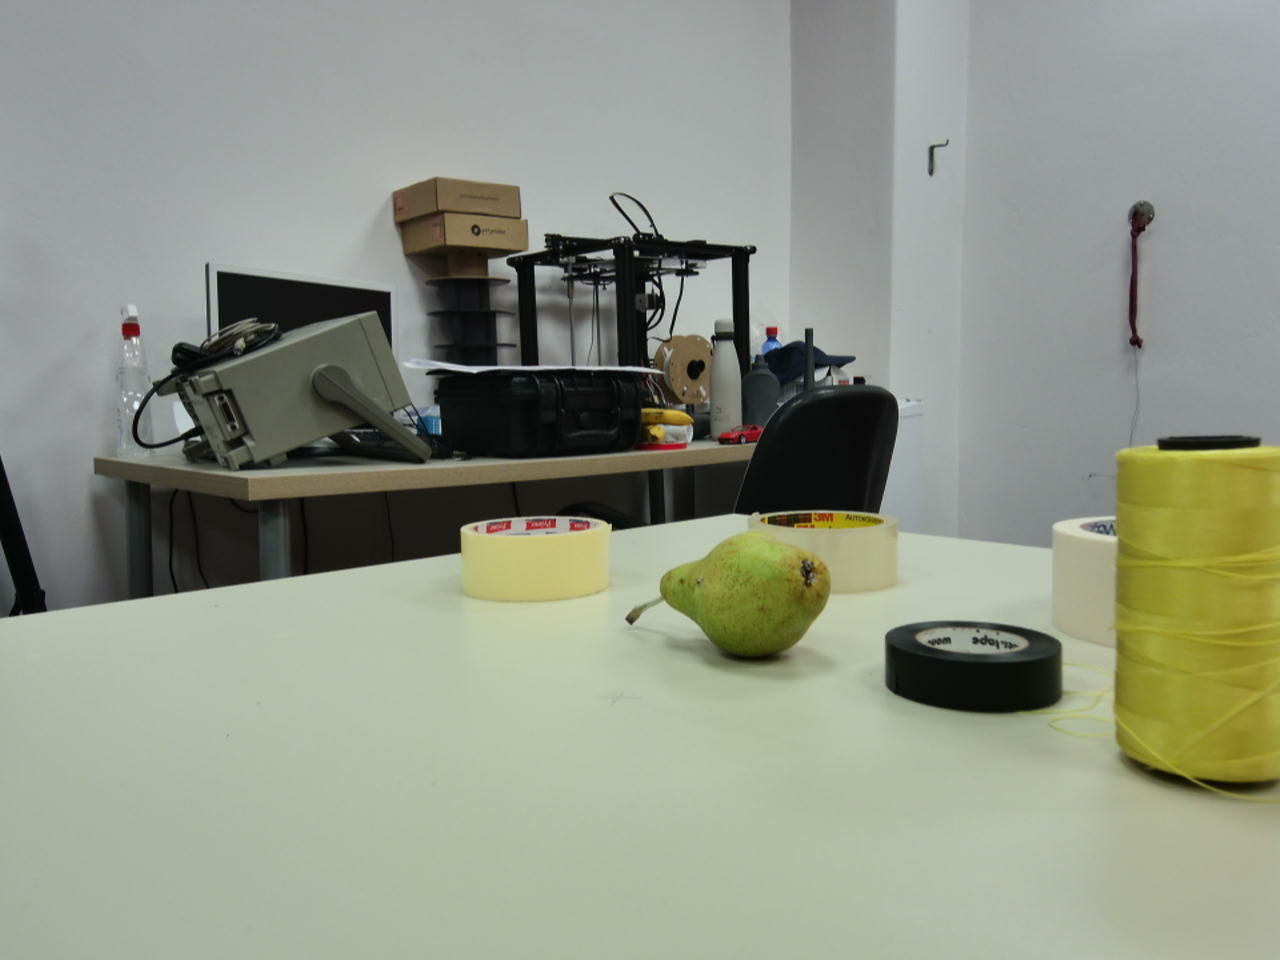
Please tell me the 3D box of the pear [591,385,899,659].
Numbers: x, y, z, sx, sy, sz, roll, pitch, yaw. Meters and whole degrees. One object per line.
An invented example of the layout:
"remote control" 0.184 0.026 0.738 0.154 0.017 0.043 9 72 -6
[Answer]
"pear" 0.042 0.052 0.475 0.056 0.056 0.111 0 3 -25
